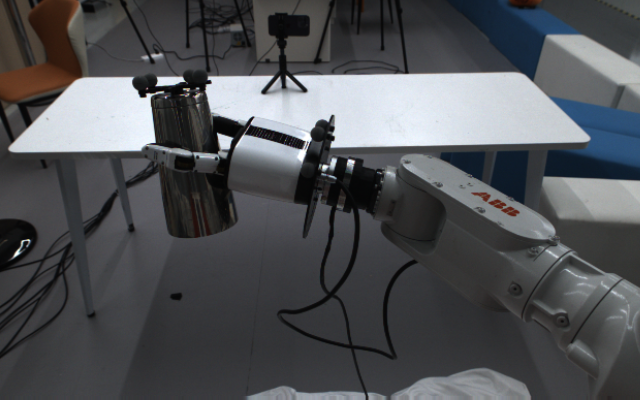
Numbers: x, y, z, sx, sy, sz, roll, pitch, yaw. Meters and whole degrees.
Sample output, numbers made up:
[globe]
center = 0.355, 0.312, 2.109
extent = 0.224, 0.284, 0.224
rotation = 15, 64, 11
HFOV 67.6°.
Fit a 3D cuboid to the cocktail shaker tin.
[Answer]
[cocktail shaker tin]
center = -0.162, -0.047, 0.609
extent = 0.093, 0.170, 0.093
rotation = -6, 19, 2
